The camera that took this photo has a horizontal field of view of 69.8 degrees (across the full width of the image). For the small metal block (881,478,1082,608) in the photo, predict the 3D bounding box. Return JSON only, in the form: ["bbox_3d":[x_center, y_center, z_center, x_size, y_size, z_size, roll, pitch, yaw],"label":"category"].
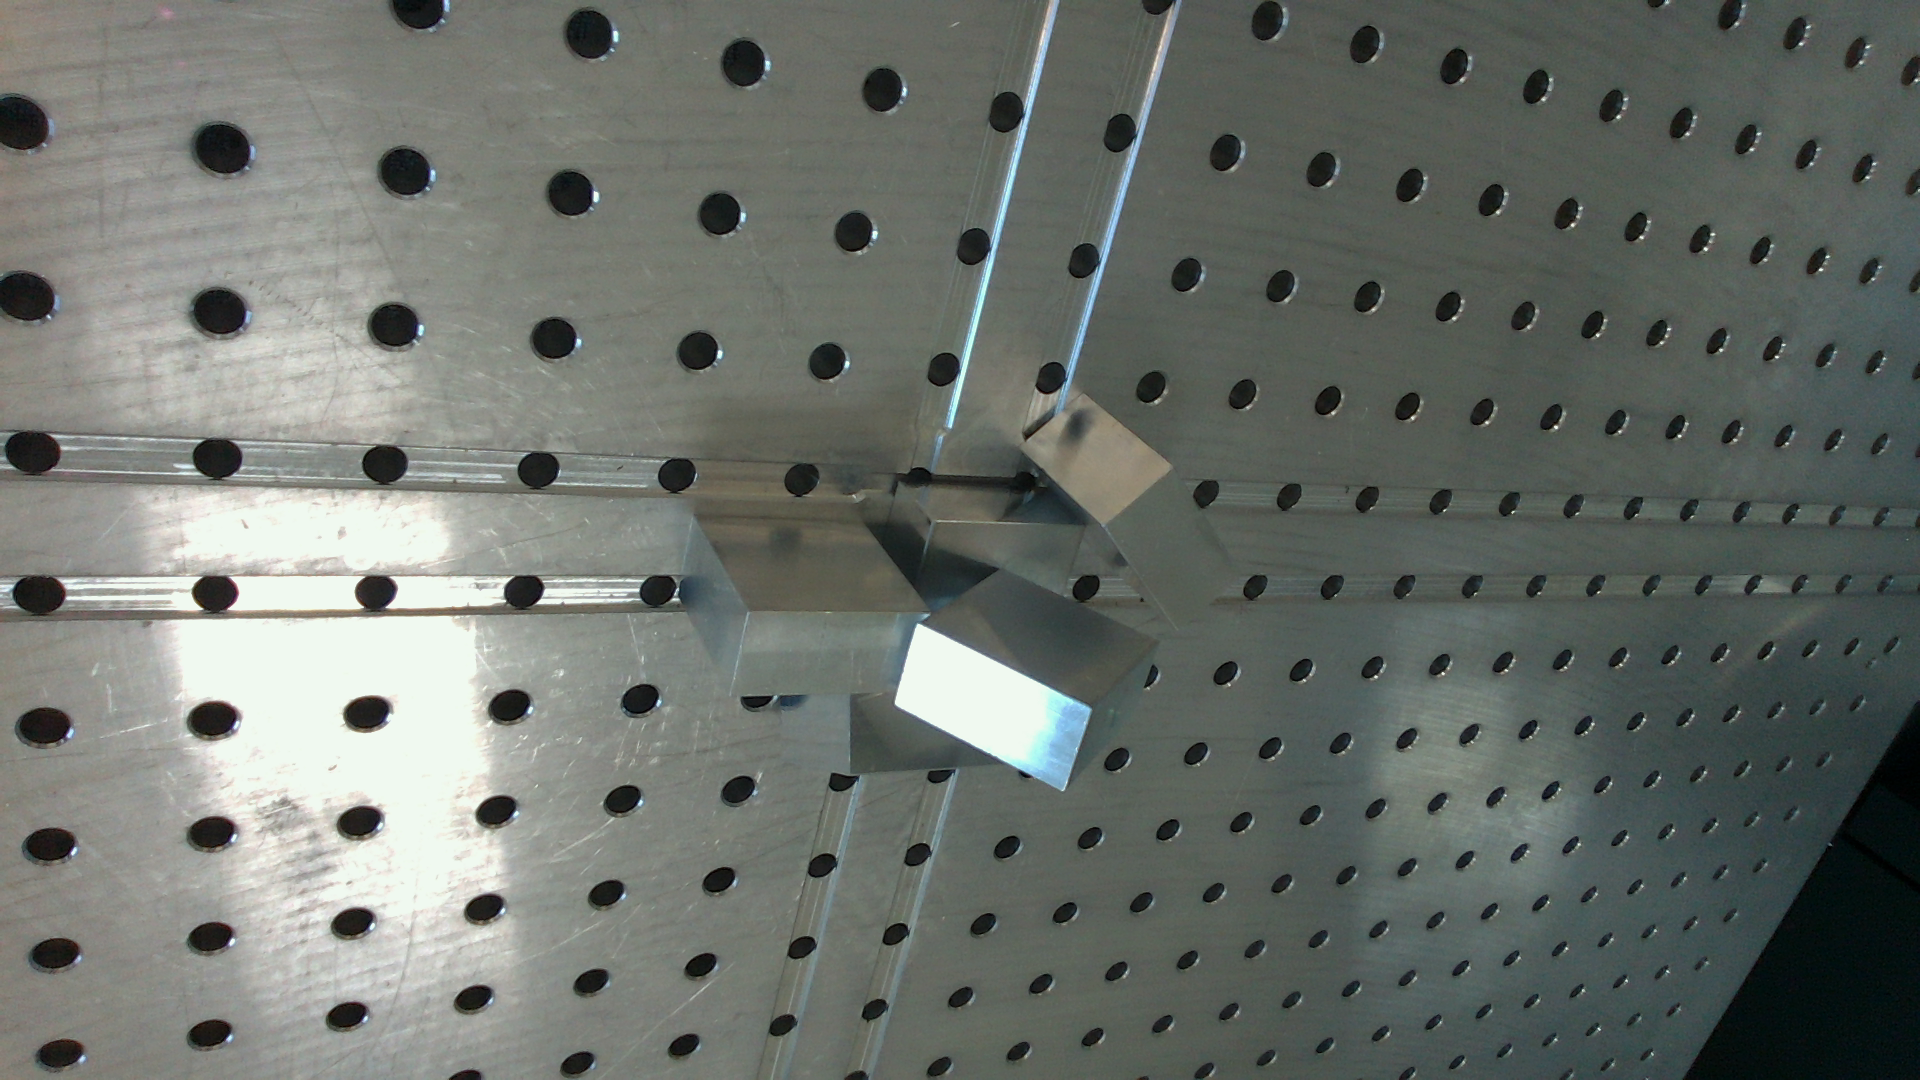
[{"bbox_3d":[0.002,0.011,0.400,0.050,0.025,0.050,1,118,-30],"label":"small metal block"}]

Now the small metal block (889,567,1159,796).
[{"bbox_3d":[0.018,0.035,0.362,0.050,0.050,0.025,-30,142,-59],"label":"small metal block"}]

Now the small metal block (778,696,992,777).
[{"bbox_3d":[-0.020,0.051,0.393,0.050,0.050,0.025,1,86,-29],"label":"small metal block"}]

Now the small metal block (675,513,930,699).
[{"bbox_3d":[-0.043,0.017,0.362,0.050,0.050,0.025,2,118,-28],"label":"small metal block"}]

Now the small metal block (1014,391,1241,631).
[{"bbox_3d":[0.048,-0.009,0.397,0.025,0.050,0.050,-41,129,-1],"label":"small metal block"}]
